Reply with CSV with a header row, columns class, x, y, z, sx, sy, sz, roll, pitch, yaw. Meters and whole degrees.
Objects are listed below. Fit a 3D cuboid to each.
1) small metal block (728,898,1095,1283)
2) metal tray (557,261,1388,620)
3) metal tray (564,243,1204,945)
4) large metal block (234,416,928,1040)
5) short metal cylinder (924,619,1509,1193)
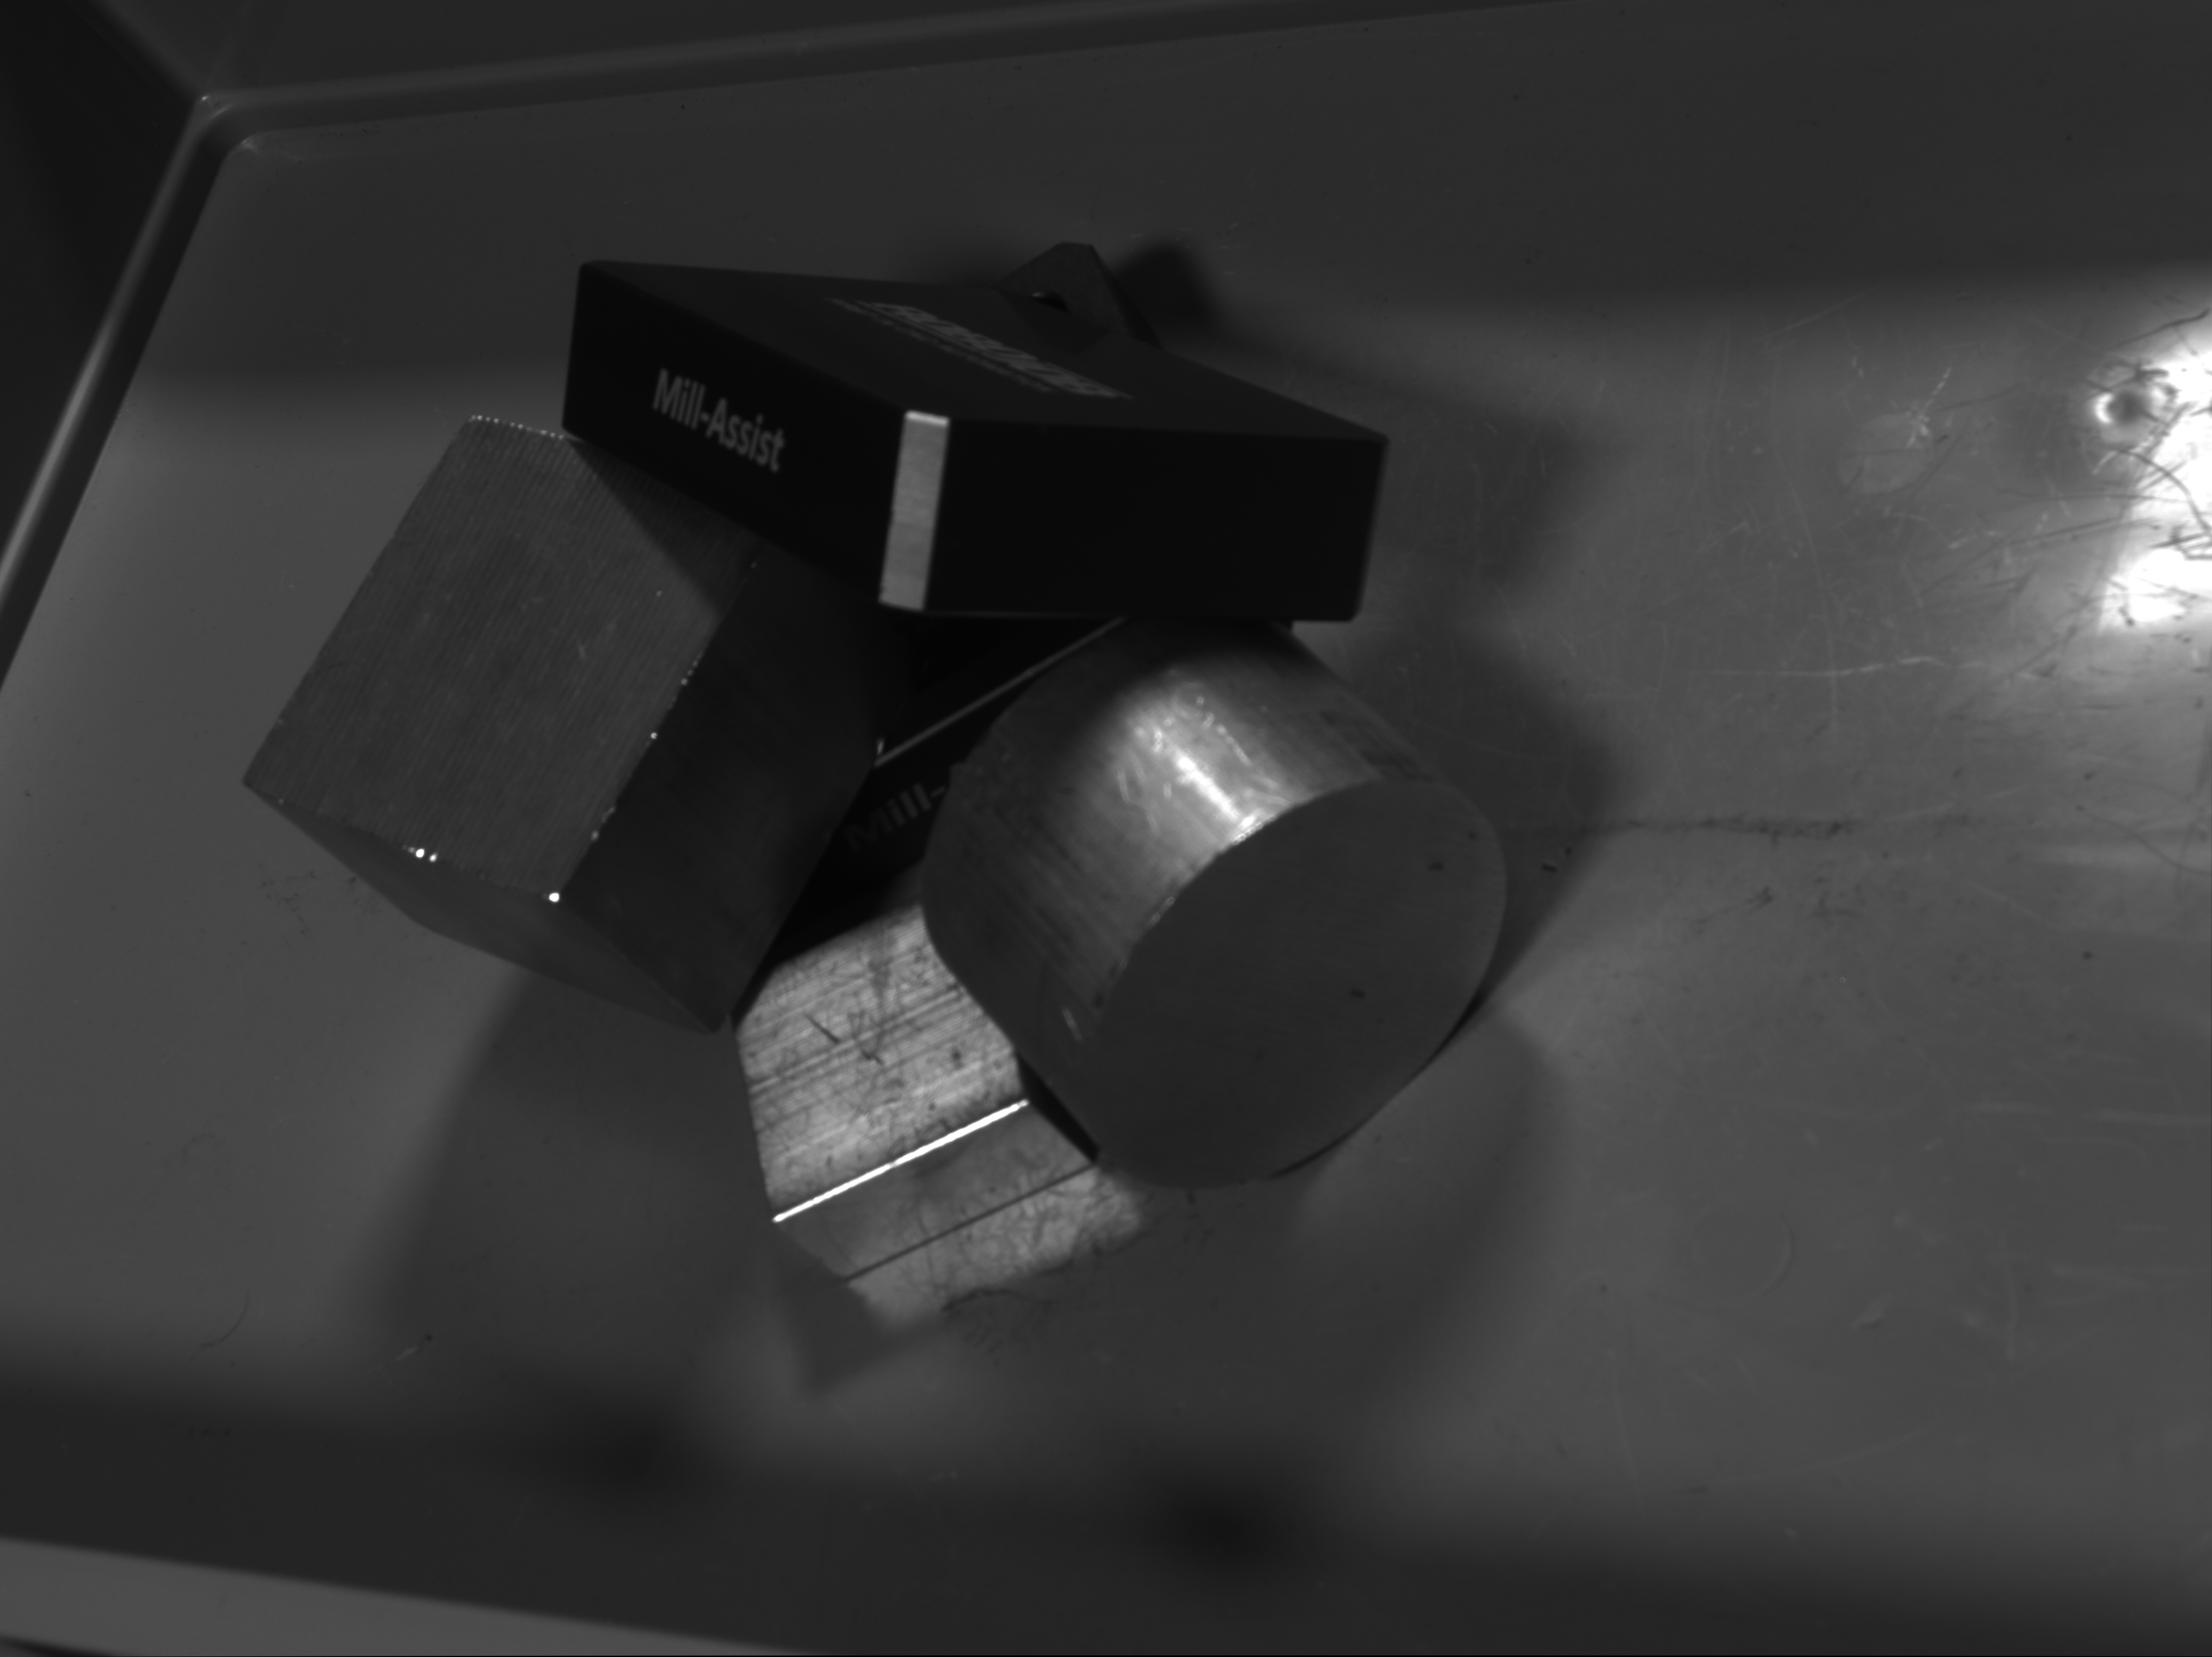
class,x,y,z,sx,sy,sz,roll,pitch,yaw
small metal block,-0.035,0.043,0.635,0.050,0.025,0.050,-26,52,12
metal tray,-0.026,-0.067,0.618,0.130,0.090,0.030,31,117,53
metal tray,-0.040,-0.042,0.687,0.130,0.030,0.090,-30,52,9
large metal block,-0.092,-0.019,0.647,0.080,0.050,0.080,18,71,35
short metal cylinder,0.018,0.012,0.591,0.080,0.080,0.050,-43,51,-1
